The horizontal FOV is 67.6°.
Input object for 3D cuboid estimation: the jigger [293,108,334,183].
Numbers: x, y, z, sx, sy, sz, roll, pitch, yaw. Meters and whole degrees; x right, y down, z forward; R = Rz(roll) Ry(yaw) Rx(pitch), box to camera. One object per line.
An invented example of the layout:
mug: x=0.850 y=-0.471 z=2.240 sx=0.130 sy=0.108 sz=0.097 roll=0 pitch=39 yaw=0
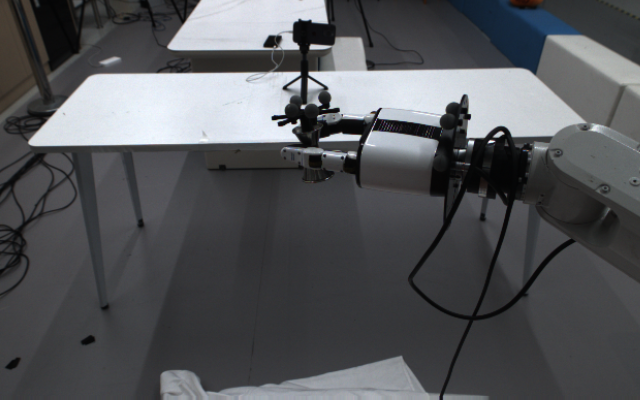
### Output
jigger: x=-0.008 y=-0.062 z=0.630 sx=0.043 sy=0.071 sz=0.043 roll=-10 pitch=23 yaw=5
